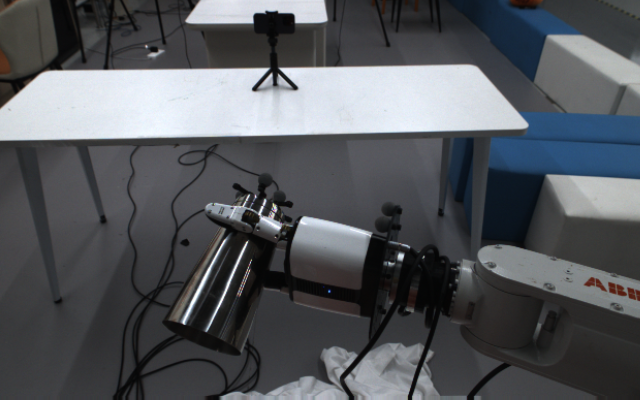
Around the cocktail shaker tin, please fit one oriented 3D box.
[{"bbox_3d":[-0.100,0.081,0.562,0.093,0.093,0.170,13,60,15],"label":"cocktail shaker tin"}]
